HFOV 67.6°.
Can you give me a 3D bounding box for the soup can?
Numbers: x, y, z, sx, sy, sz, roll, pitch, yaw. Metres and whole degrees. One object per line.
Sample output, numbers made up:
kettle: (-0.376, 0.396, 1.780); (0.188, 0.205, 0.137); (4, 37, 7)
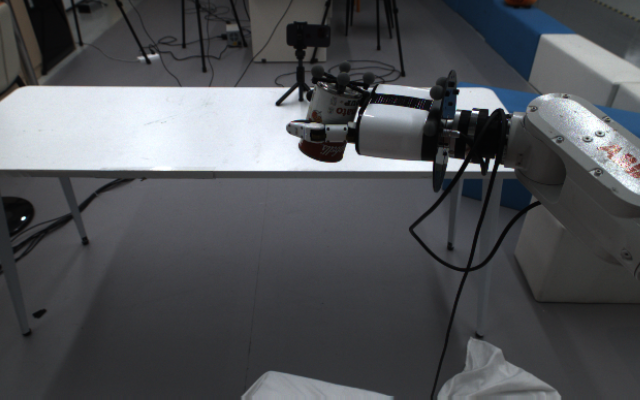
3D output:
soup can: (0.015, -0.113, 0.677); (0.067, 0.101, 0.067); (13, 30, -8)
